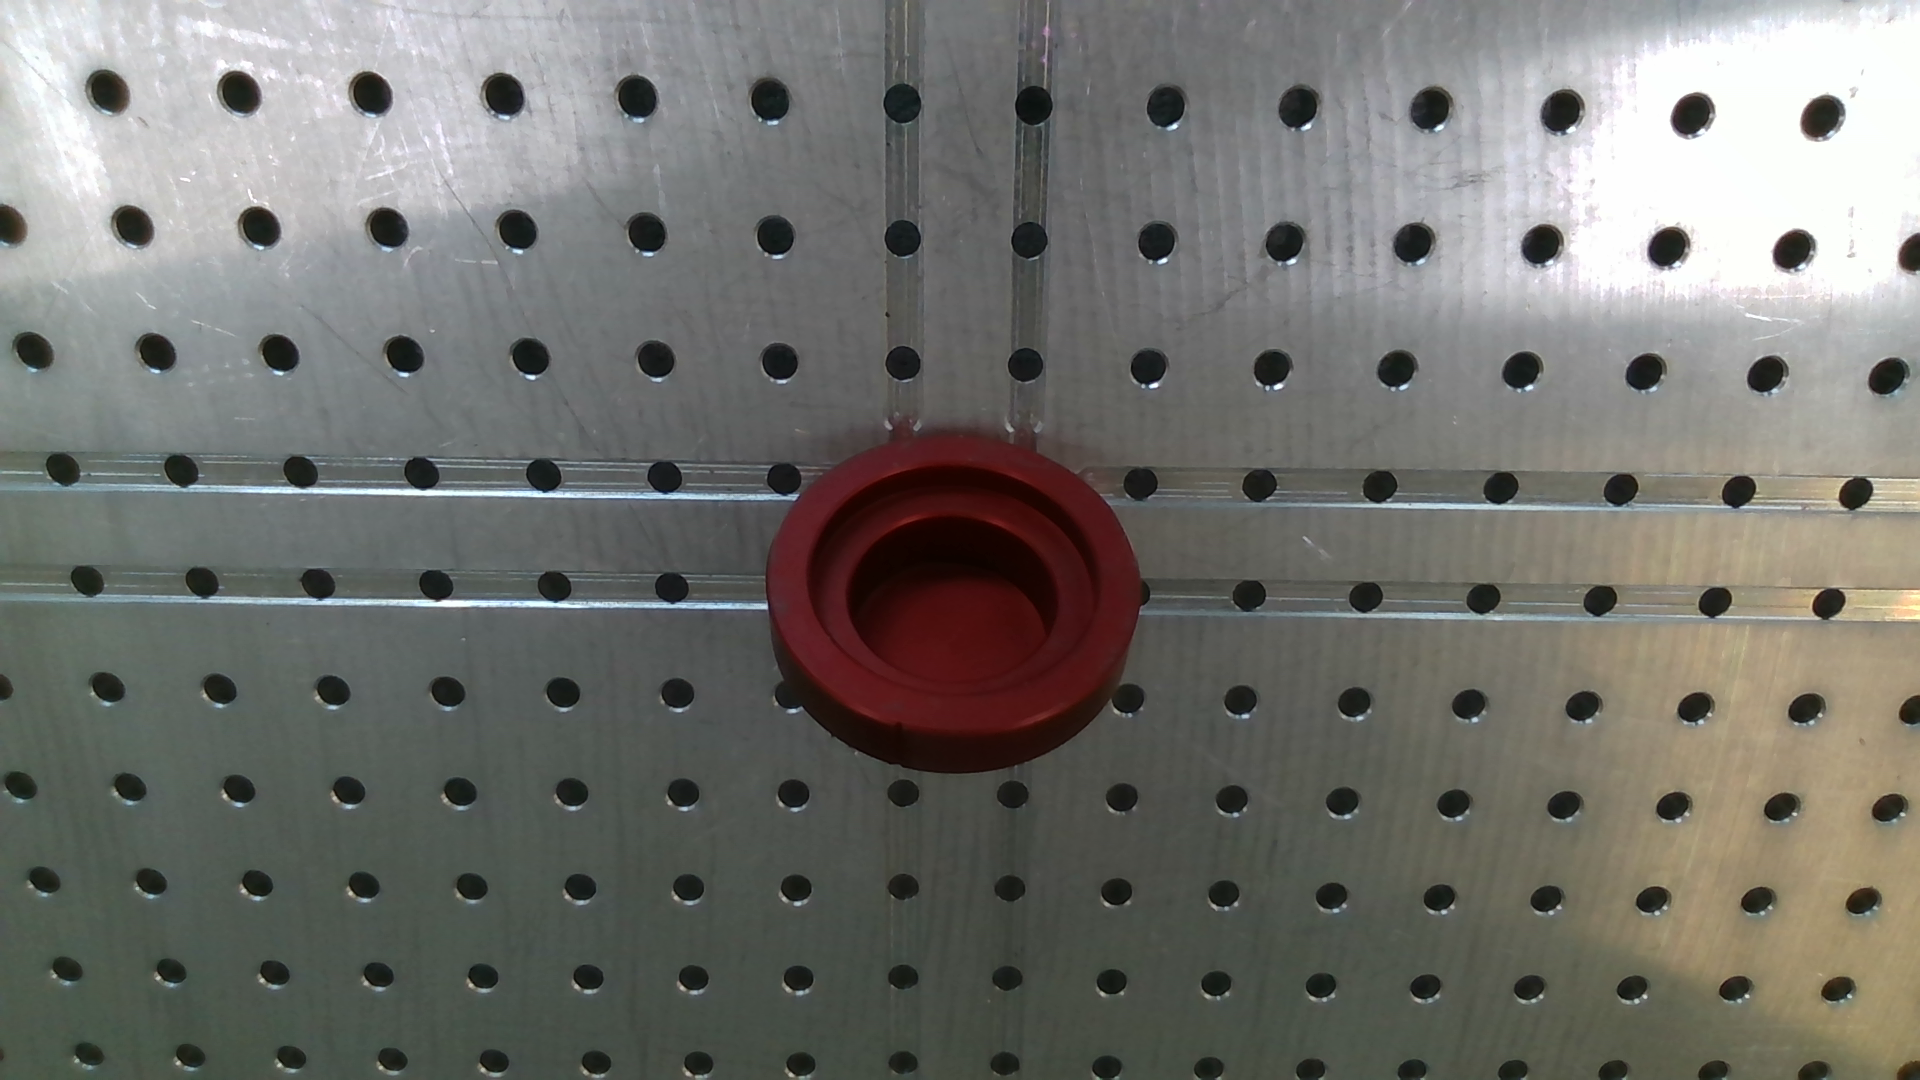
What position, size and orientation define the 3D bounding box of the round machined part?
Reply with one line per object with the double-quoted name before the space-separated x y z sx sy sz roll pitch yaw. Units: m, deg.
"round machined part" -0.003 0.020 0.374 0.098 0.098 0.042 3 141 -1
